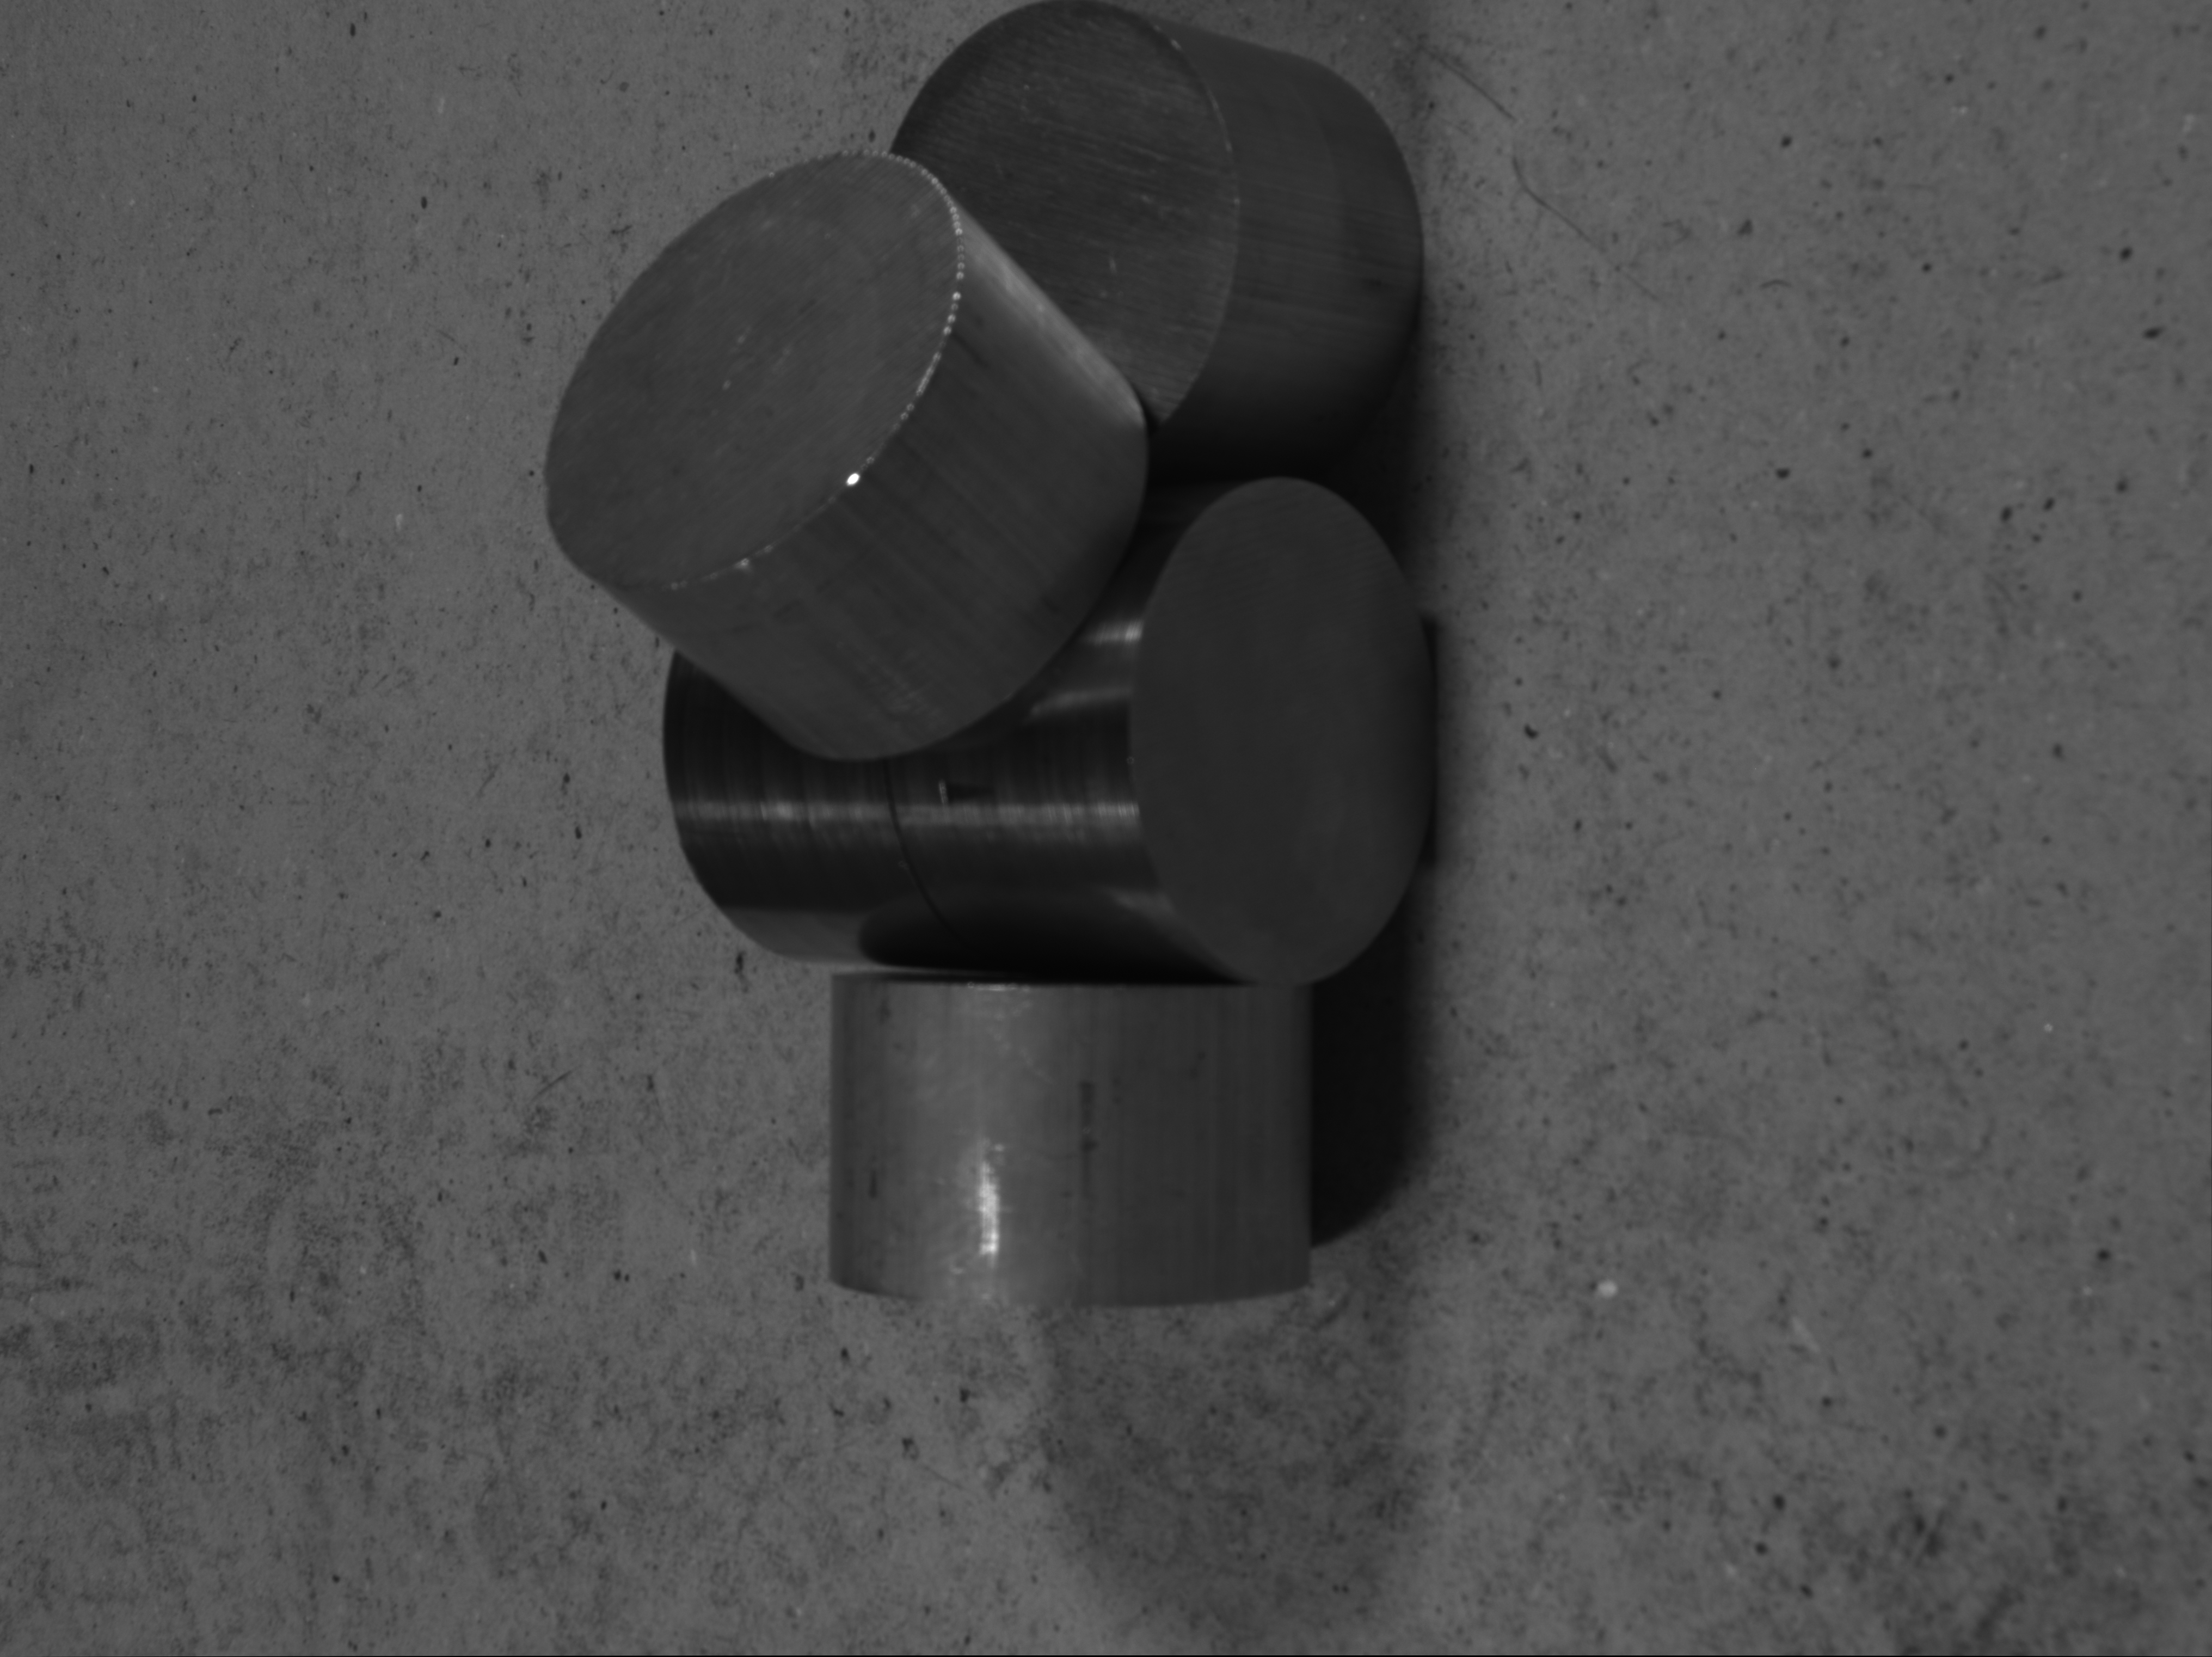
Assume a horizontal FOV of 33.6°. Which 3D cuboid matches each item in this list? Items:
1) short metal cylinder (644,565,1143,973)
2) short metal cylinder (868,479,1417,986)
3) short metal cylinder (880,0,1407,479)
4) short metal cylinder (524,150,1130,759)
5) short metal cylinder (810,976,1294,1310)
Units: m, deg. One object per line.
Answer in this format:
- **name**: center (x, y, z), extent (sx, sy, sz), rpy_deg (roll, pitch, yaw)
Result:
- **short metal cylinder**: center (-0.033, -0.015, 0.628), extent (0.050, 0.080, 0.080), rpy_deg (1, 90, 39)
- **short metal cylinder**: center (0.007, -0.015, 0.595), extent (0.050, 0.080, 0.080), rpy_deg (0, 90, 40)
- **short metal cylinder**: center (0.004, -0.095, 0.619), extent (0.080, 0.050, 0.080), rpy_deg (0, 90, 39)
- **short metal cylinder**: center (-0.043, -0.058, 0.570), extent (0.080, 0.050, 0.080), rpy_deg (-21, 50, 27)
- **short metal cylinder**: center (-0.009, 0.050, 0.608), extent (0.080, 0.080, 0.050), rpy_deg (0, 90, 39)
